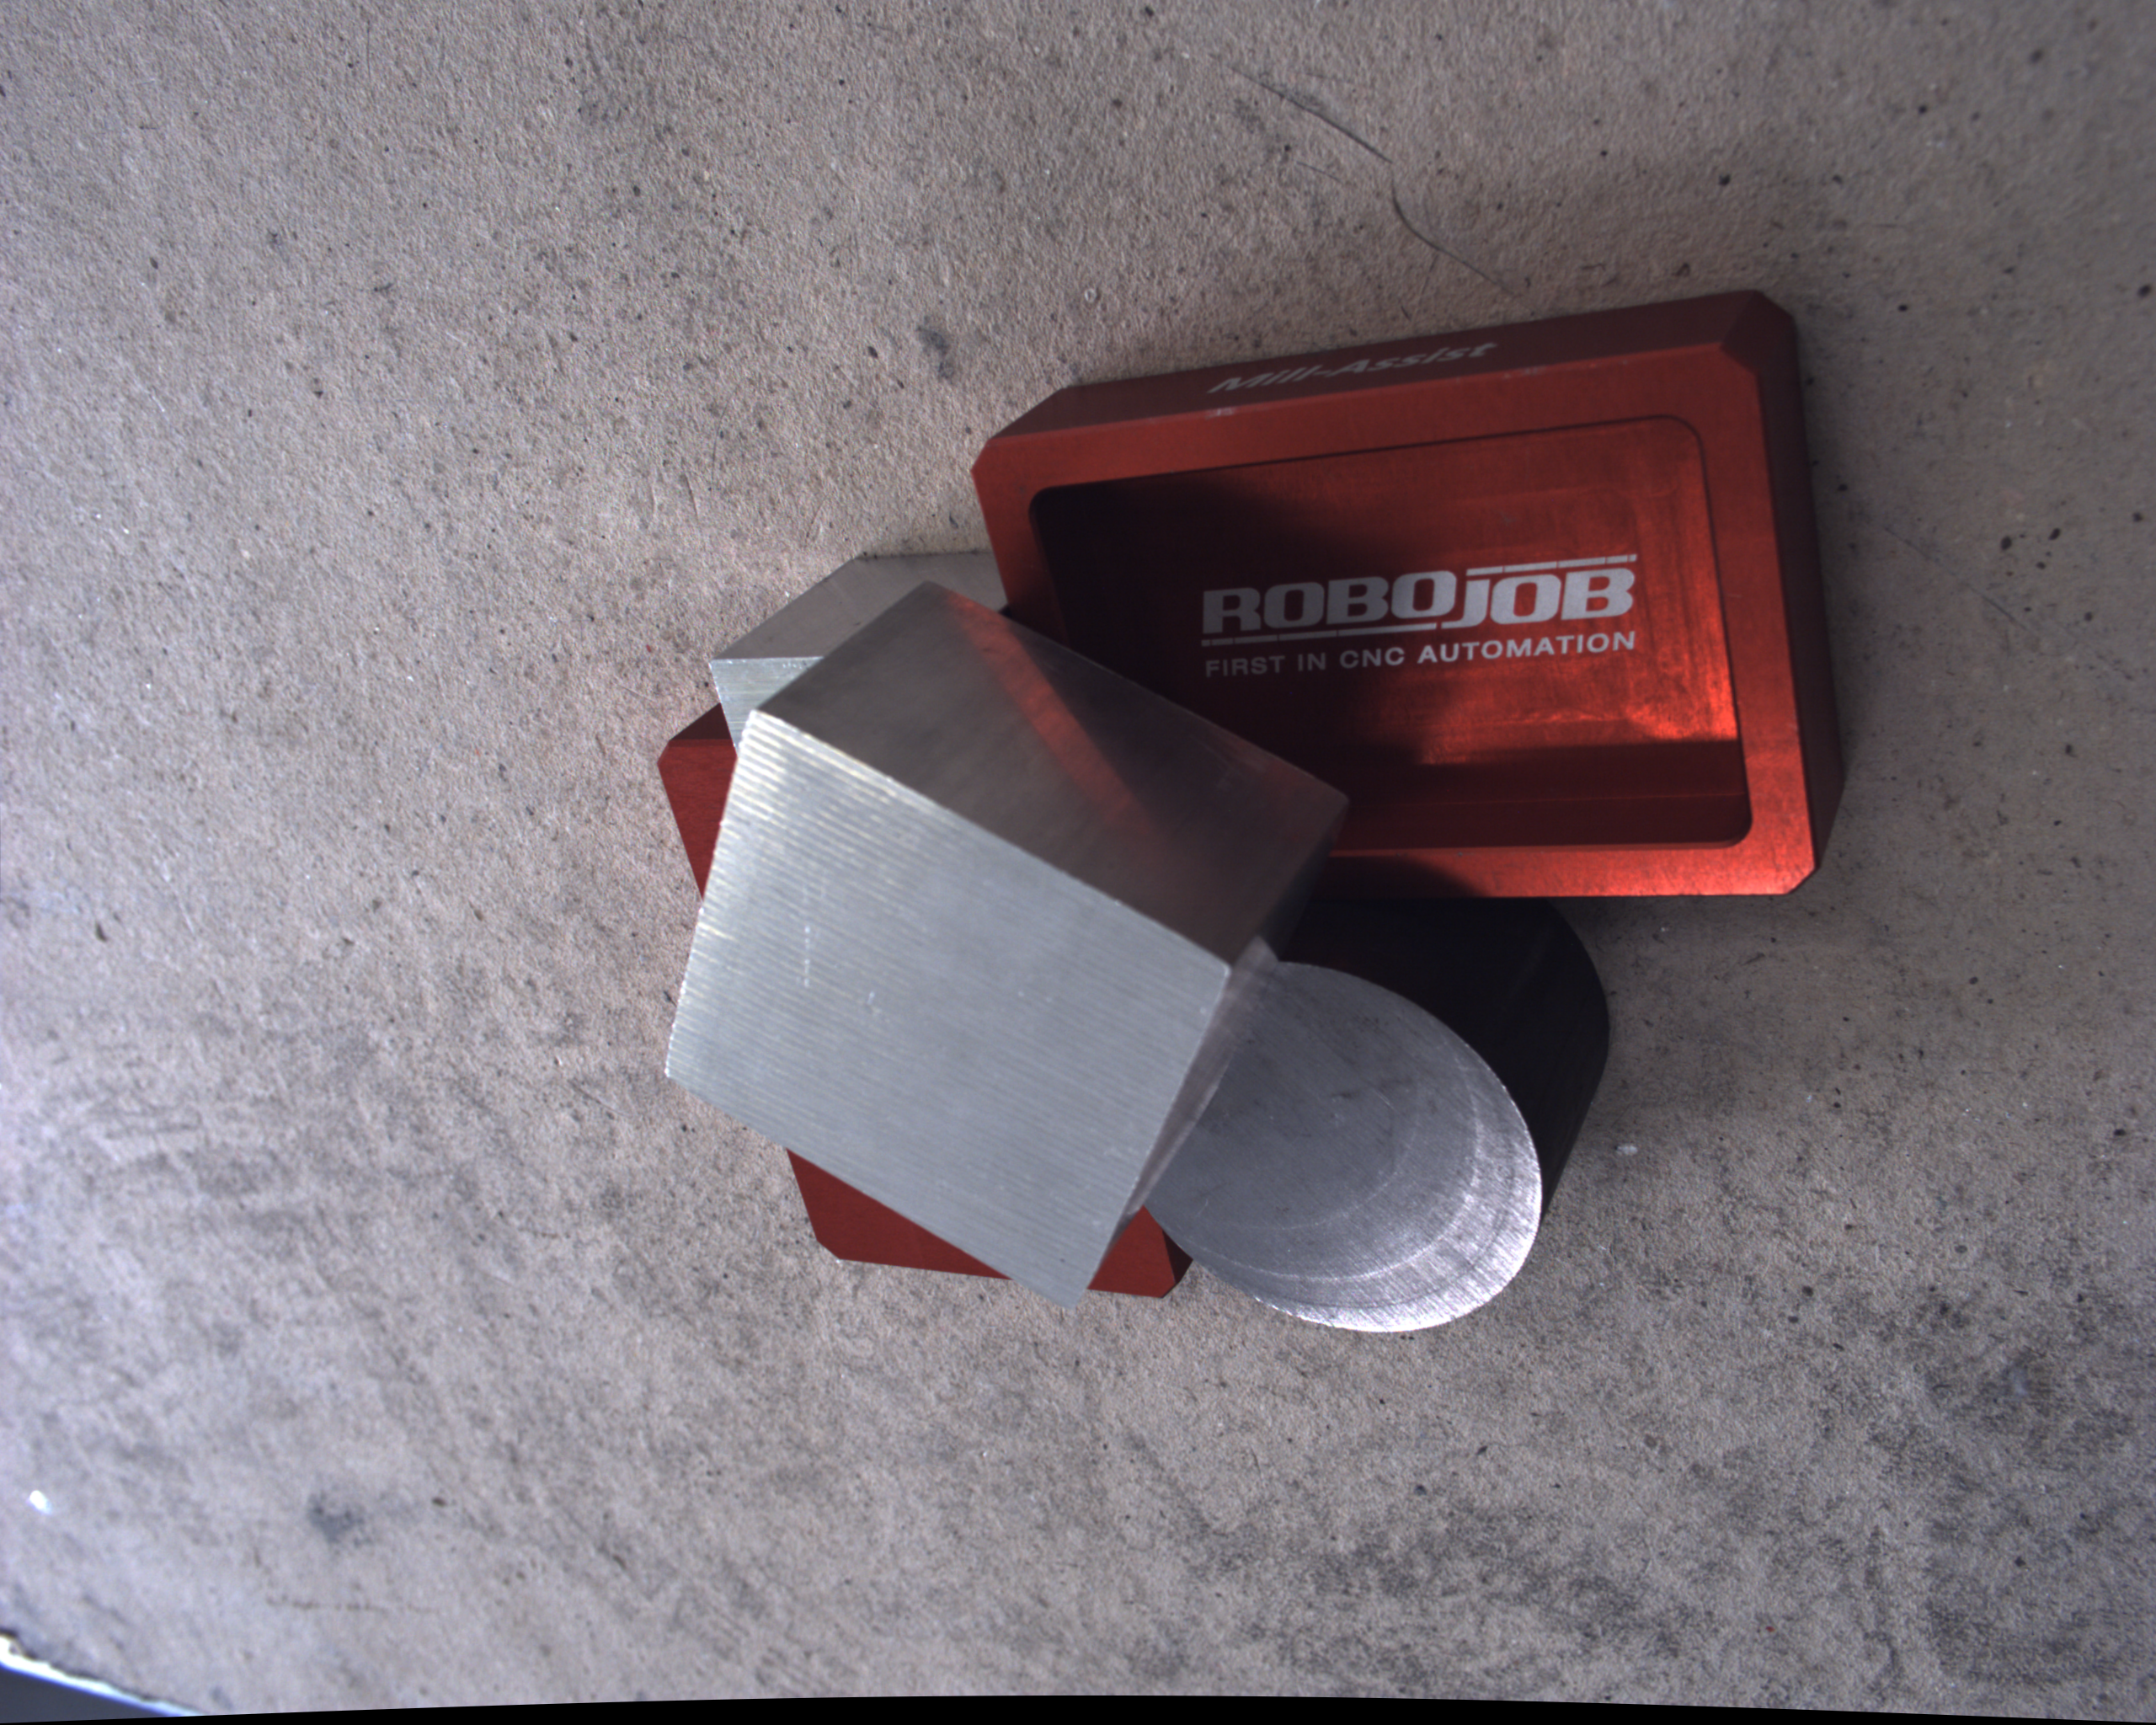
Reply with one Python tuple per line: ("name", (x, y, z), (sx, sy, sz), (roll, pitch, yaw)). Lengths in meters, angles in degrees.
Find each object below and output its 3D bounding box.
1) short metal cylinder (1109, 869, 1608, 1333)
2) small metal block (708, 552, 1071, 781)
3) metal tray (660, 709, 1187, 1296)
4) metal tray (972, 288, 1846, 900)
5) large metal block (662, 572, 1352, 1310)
("short metal cylinder", (0.053, 0.040, 0.389), (0.080, 0.050, 0.079), (14, 124, 21))
("small metal block", (-0.031, -0.037, 0.386), (0.050, 0.050, 0.025), (1, 119, 28))
("metal tray", (-0.025, 0.026, 0.436), (0.090, 0.030, 0.129), (1, 119, 28))
("metal tray", (0.055, -0.040, 0.351), (0.130, 0.030, 0.089), (-2, 118, 29))
("large metal block", (-0.014, 0.013, 0.341), (0.080, 0.050, 0.079), (29, 128, 10))
